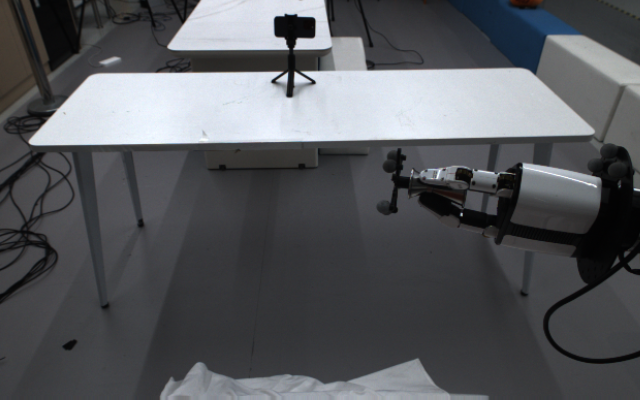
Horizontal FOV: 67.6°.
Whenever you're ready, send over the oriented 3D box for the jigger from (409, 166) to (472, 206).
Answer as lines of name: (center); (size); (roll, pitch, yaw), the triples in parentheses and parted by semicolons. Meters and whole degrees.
jigger: (0.152, -0.020, 0.600); (0.071, 0.043, 0.043); (8, 35, 14)
